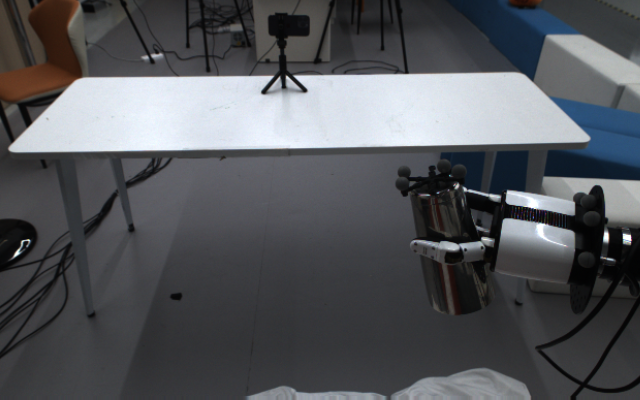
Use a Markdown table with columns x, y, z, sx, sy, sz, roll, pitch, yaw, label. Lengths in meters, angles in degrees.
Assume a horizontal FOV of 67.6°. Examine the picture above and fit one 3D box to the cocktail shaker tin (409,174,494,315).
| x | y | z | sx | sy | sz | roll | pitch | yaw | label |
| --- | --- | --- | --- | --- | --- | --- | --- | --- | --- |
| 0.172 | 0.056 | 0.645 | 0.093 | 0.170 | 0.093 | -17 | 20 | 7 | cocktail shaker tin |
